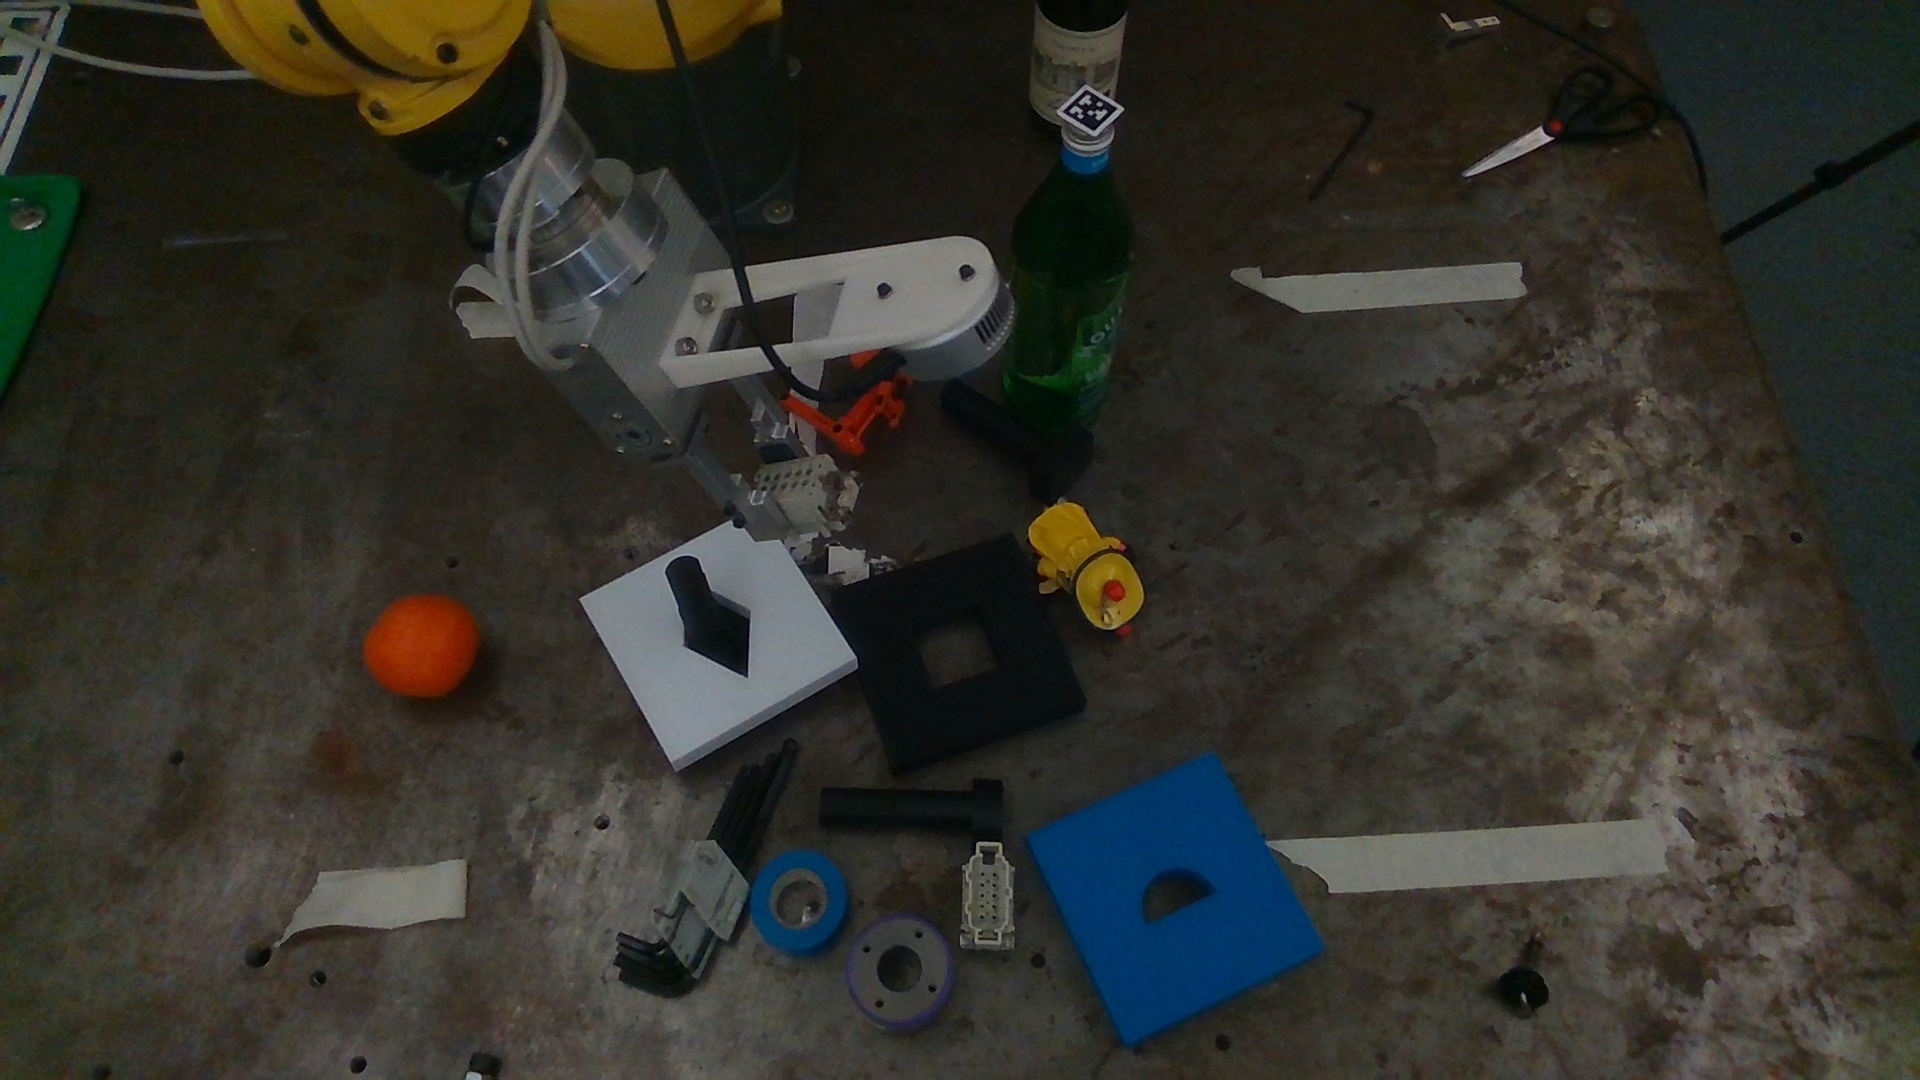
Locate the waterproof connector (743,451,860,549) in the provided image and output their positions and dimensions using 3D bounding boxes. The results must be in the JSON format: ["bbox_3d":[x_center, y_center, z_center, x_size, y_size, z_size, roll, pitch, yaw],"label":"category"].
[{"bbox_3d":[-0.086,-0.020,0.753,0.069,0.038,0.036,-15,47,27],"label":"waterproof connector"}]
